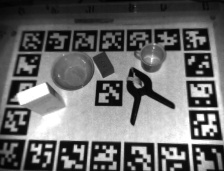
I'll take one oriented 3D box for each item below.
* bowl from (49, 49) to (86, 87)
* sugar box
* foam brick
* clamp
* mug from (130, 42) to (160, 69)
[{"bbox_3d":[-0.167,-0.061,0.821,0.161,0.055,0.161,-1,72,3],"label":"bowl"},{"bbox_3d":[-0.251,0.046,0.729,0.093,0.177,0.045,-24,73,-4],"label":"sugar box"},{"bbox_3d":[-0.049,-0.085,0.828,0.053,0.051,0.077,-26,73,-3],"label":"foam brick"},{"bbox_3d":[0.083,0.011,0.782,0.165,0.037,0.201,-22,73,-1],"label":"clamp"},{"bbox_3d":[0.118,-0.117,0.801,0.116,0.082,0.093,26,76,9],"label":"mug"}]
